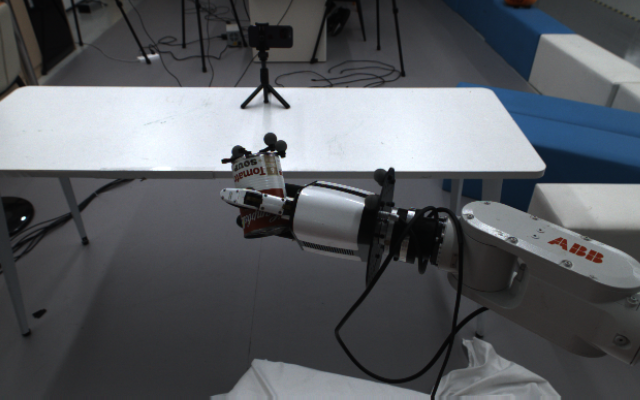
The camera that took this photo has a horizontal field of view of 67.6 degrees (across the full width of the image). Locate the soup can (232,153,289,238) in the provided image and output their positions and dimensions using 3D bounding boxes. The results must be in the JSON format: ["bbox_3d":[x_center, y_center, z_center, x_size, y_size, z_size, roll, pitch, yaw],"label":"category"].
[{"bbox_3d":[-0.077,-0.004,0.651,0.067,0.067,0.101,-10,80,-17],"label":"soup can"}]
